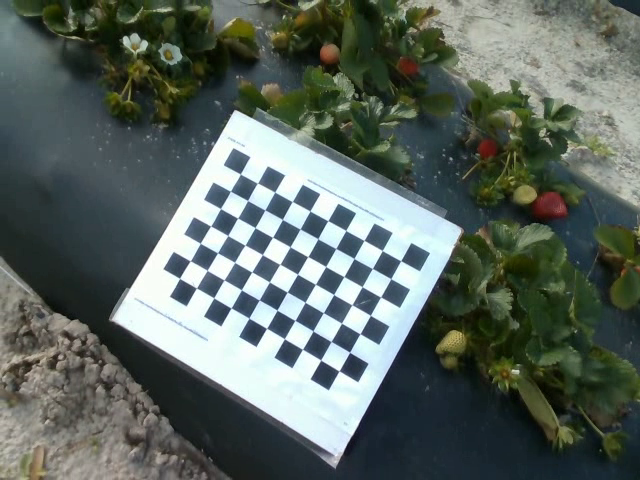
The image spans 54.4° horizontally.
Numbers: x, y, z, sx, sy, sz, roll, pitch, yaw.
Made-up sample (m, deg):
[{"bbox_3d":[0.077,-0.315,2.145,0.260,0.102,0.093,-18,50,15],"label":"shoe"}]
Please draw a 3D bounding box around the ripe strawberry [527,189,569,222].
[{"bbox_3d":[0.349,-0.049,0.945,0.051,0.048,0.055,-28,26,0],"label":"ripe strawberry"}]
